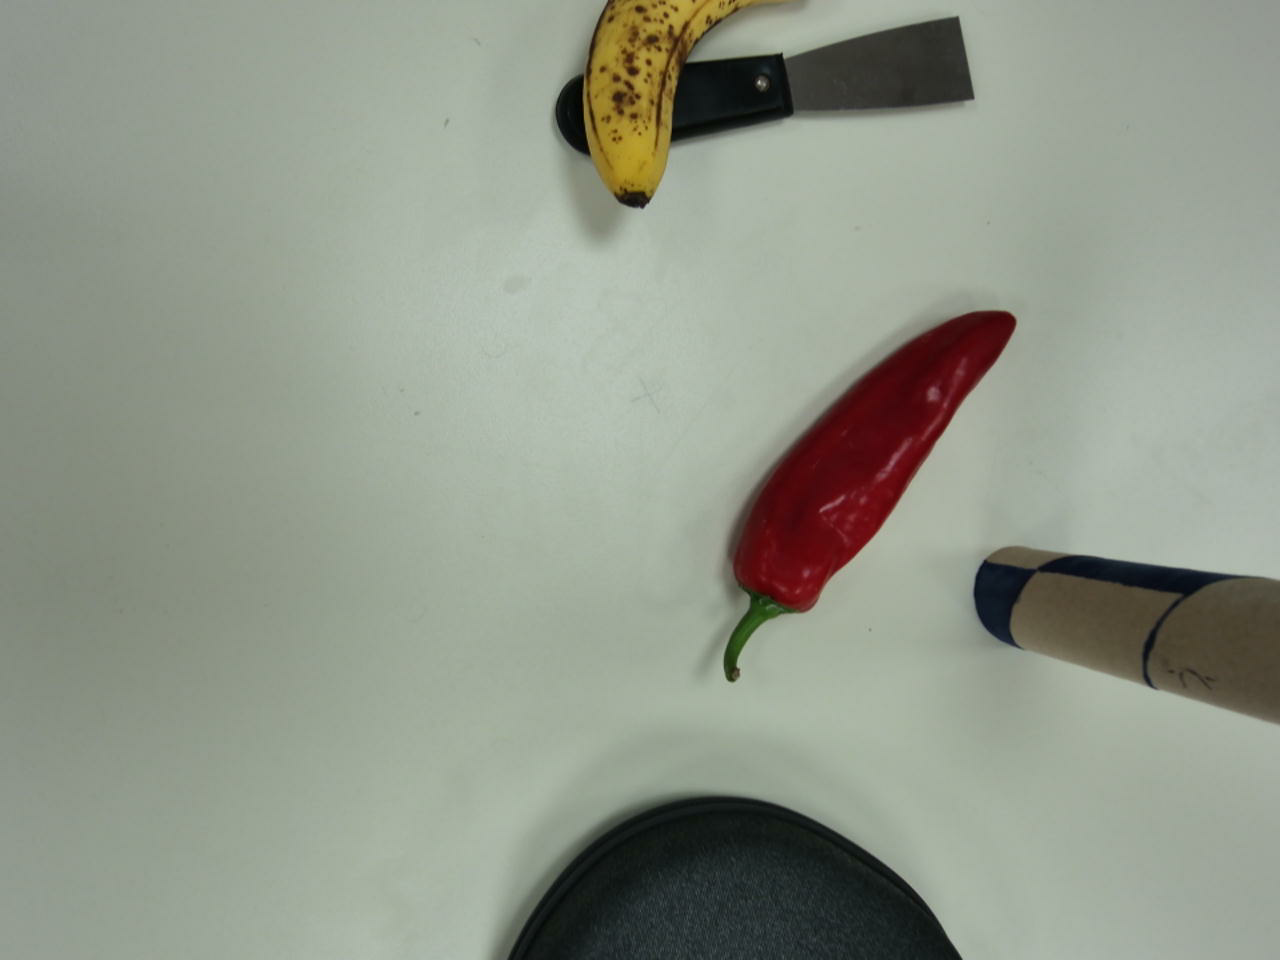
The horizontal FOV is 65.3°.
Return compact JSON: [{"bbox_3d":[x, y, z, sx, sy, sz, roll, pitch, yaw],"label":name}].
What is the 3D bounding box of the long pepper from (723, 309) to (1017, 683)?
[{"bbox_3d":[0.094,-0.003,0.441,0.050,0.043,0.211,42,82,-9],"label":"long pepper"}]
